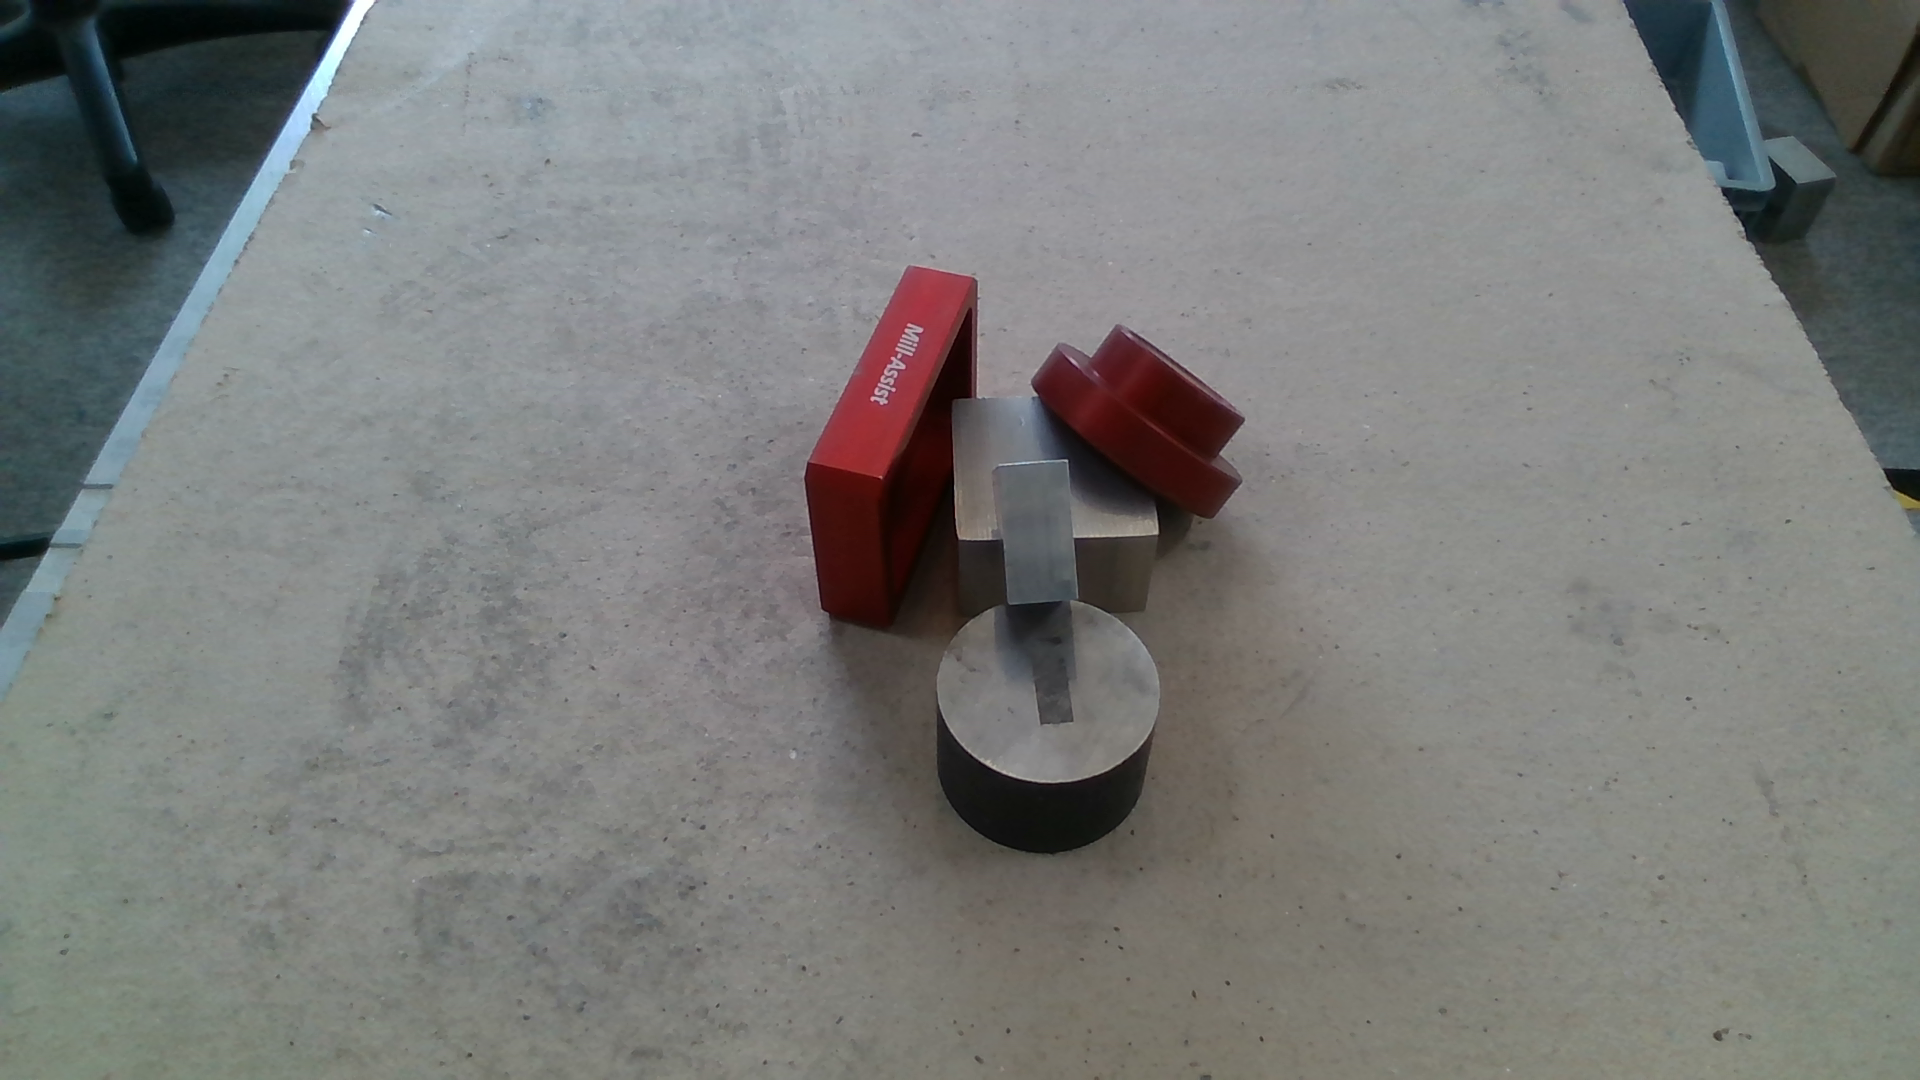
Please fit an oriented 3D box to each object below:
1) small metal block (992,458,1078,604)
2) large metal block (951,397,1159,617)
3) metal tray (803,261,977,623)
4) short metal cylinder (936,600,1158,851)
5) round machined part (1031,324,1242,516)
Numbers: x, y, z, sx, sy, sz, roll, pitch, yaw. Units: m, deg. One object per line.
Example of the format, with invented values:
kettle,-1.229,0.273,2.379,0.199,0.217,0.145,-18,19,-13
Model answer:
small metal block,0.027,-0.004,0.515,0.025,0.050,0.050,-5,92,-1
large metal block,0.037,-0.015,0.585,0.080,0.050,0.080,-1,50,-1
metal tray,-0.025,-0.042,0.580,0.030,0.090,0.130,13,51,11
short metal cylinder,0.031,0.068,0.515,0.080,0.050,0.080,0,50,0
round machined part,0.081,-0.056,0.586,0.098,0.098,0.042,46,108,31
